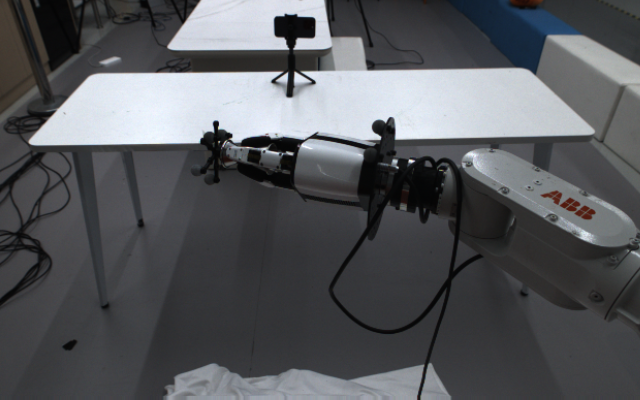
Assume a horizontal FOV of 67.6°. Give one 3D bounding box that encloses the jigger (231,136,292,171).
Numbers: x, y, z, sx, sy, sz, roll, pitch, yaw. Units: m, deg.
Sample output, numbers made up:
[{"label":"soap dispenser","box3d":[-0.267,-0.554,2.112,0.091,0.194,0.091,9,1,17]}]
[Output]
[{"label":"jigger","box3d":[-0.092,-0.064,0.665,0.071,0.043,0.043,8,35,16]}]
